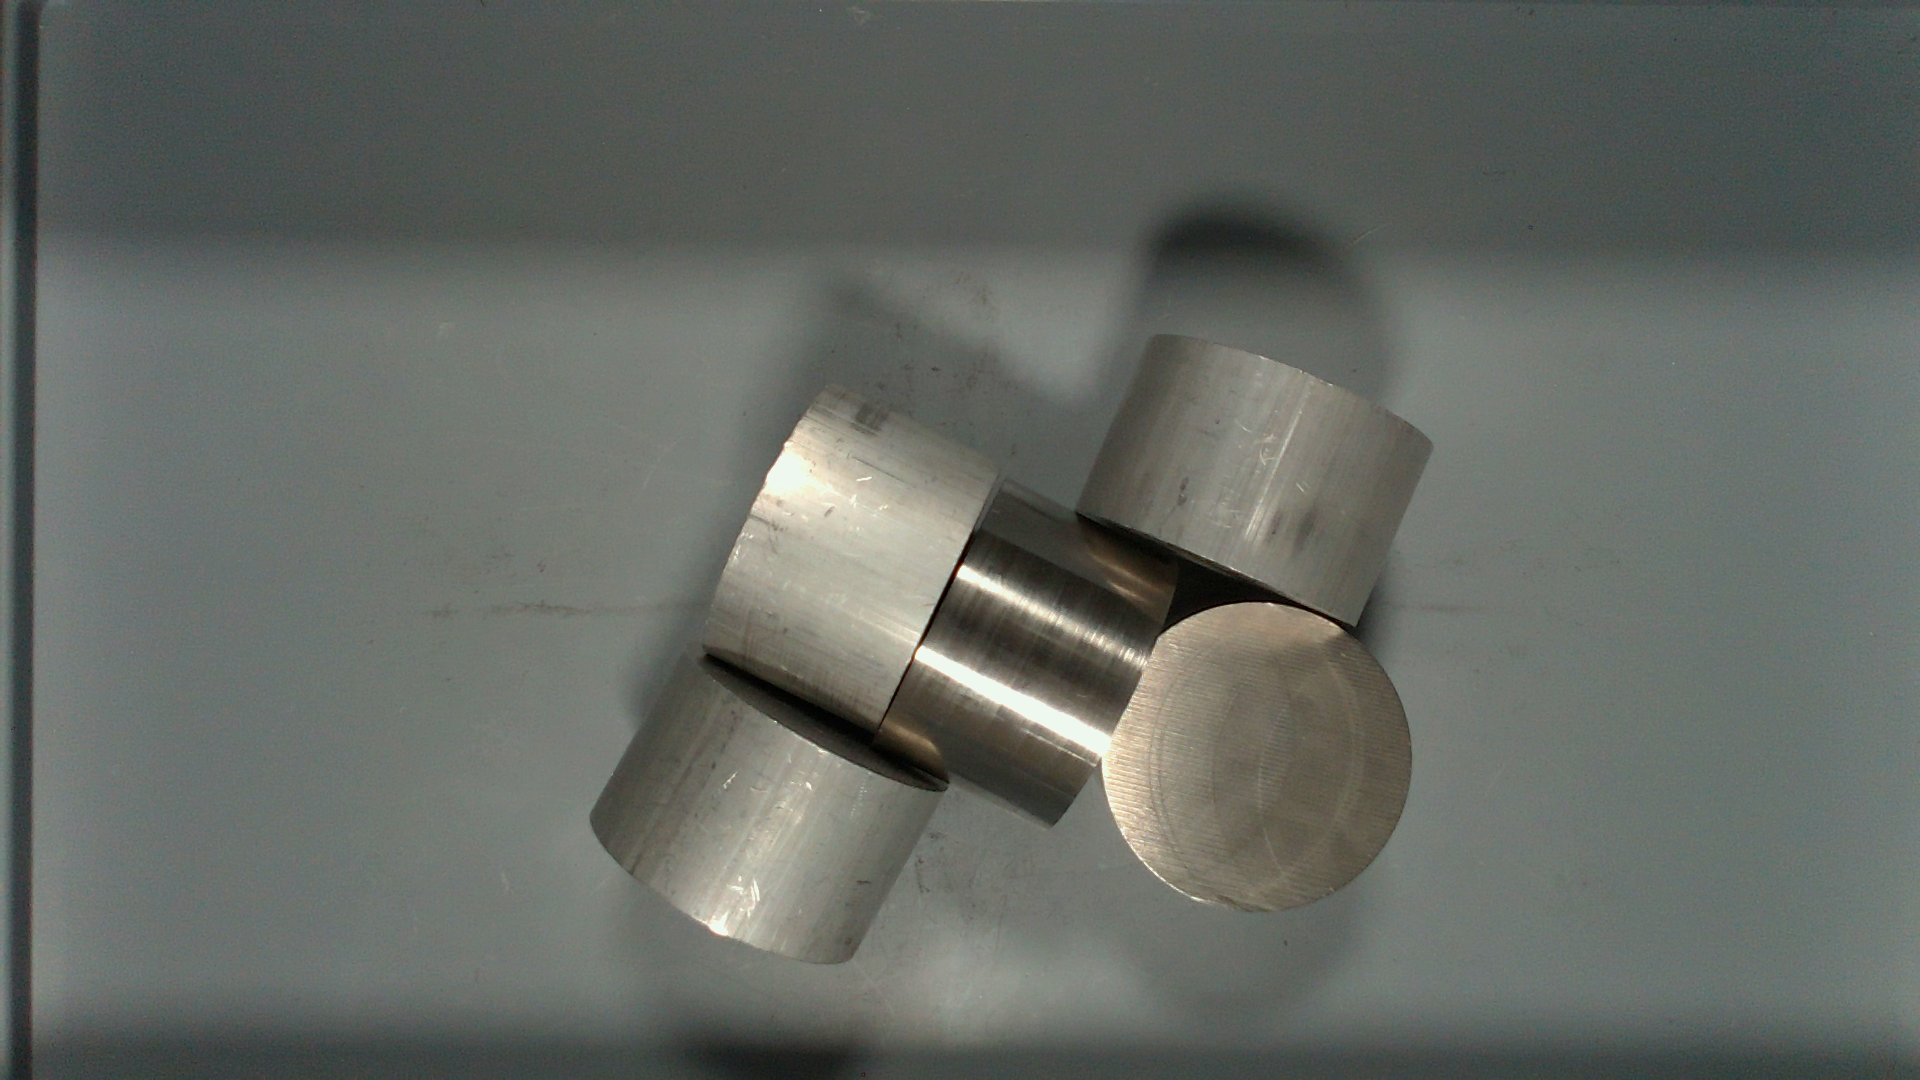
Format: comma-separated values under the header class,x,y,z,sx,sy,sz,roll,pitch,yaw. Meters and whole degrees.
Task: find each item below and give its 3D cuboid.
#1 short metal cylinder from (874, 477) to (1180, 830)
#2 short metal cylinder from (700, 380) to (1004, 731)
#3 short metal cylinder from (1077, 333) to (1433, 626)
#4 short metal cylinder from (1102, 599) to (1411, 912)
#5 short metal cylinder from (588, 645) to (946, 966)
class,x,y,z,sx,sy,sz,roll,pitch,yaw
short metal cylinder,0.017,0.030,0.367,0.050,0.080,0.080,27,90,0
short metal cylinder,-0.028,0.004,0.366,0.050,0.080,0.080,25,90,0
short metal cylinder,0.077,-0.015,0.367,0.080,0.080,0.050,23,90,0
short metal cylinder,0.077,0.056,0.382,0.080,0.050,0.080,0,90,0
short metal cylinder,-0.050,0.069,0.367,0.080,0.080,0.050,29,90,0
